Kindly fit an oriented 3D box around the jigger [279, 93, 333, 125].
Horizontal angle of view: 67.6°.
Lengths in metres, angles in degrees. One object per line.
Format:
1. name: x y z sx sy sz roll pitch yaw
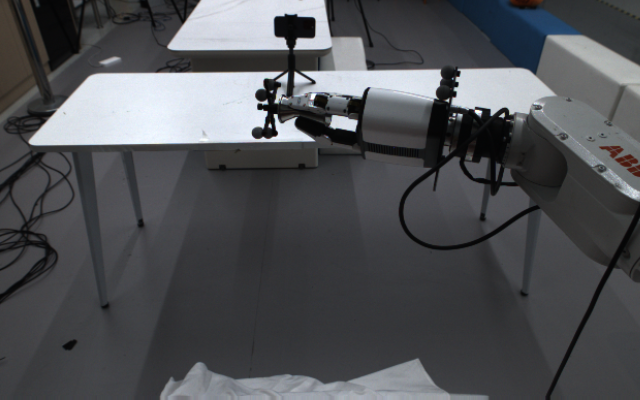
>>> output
1. jigger: -0.015 -0.128 0.671 0.071 0.043 0.043 5 34 14
